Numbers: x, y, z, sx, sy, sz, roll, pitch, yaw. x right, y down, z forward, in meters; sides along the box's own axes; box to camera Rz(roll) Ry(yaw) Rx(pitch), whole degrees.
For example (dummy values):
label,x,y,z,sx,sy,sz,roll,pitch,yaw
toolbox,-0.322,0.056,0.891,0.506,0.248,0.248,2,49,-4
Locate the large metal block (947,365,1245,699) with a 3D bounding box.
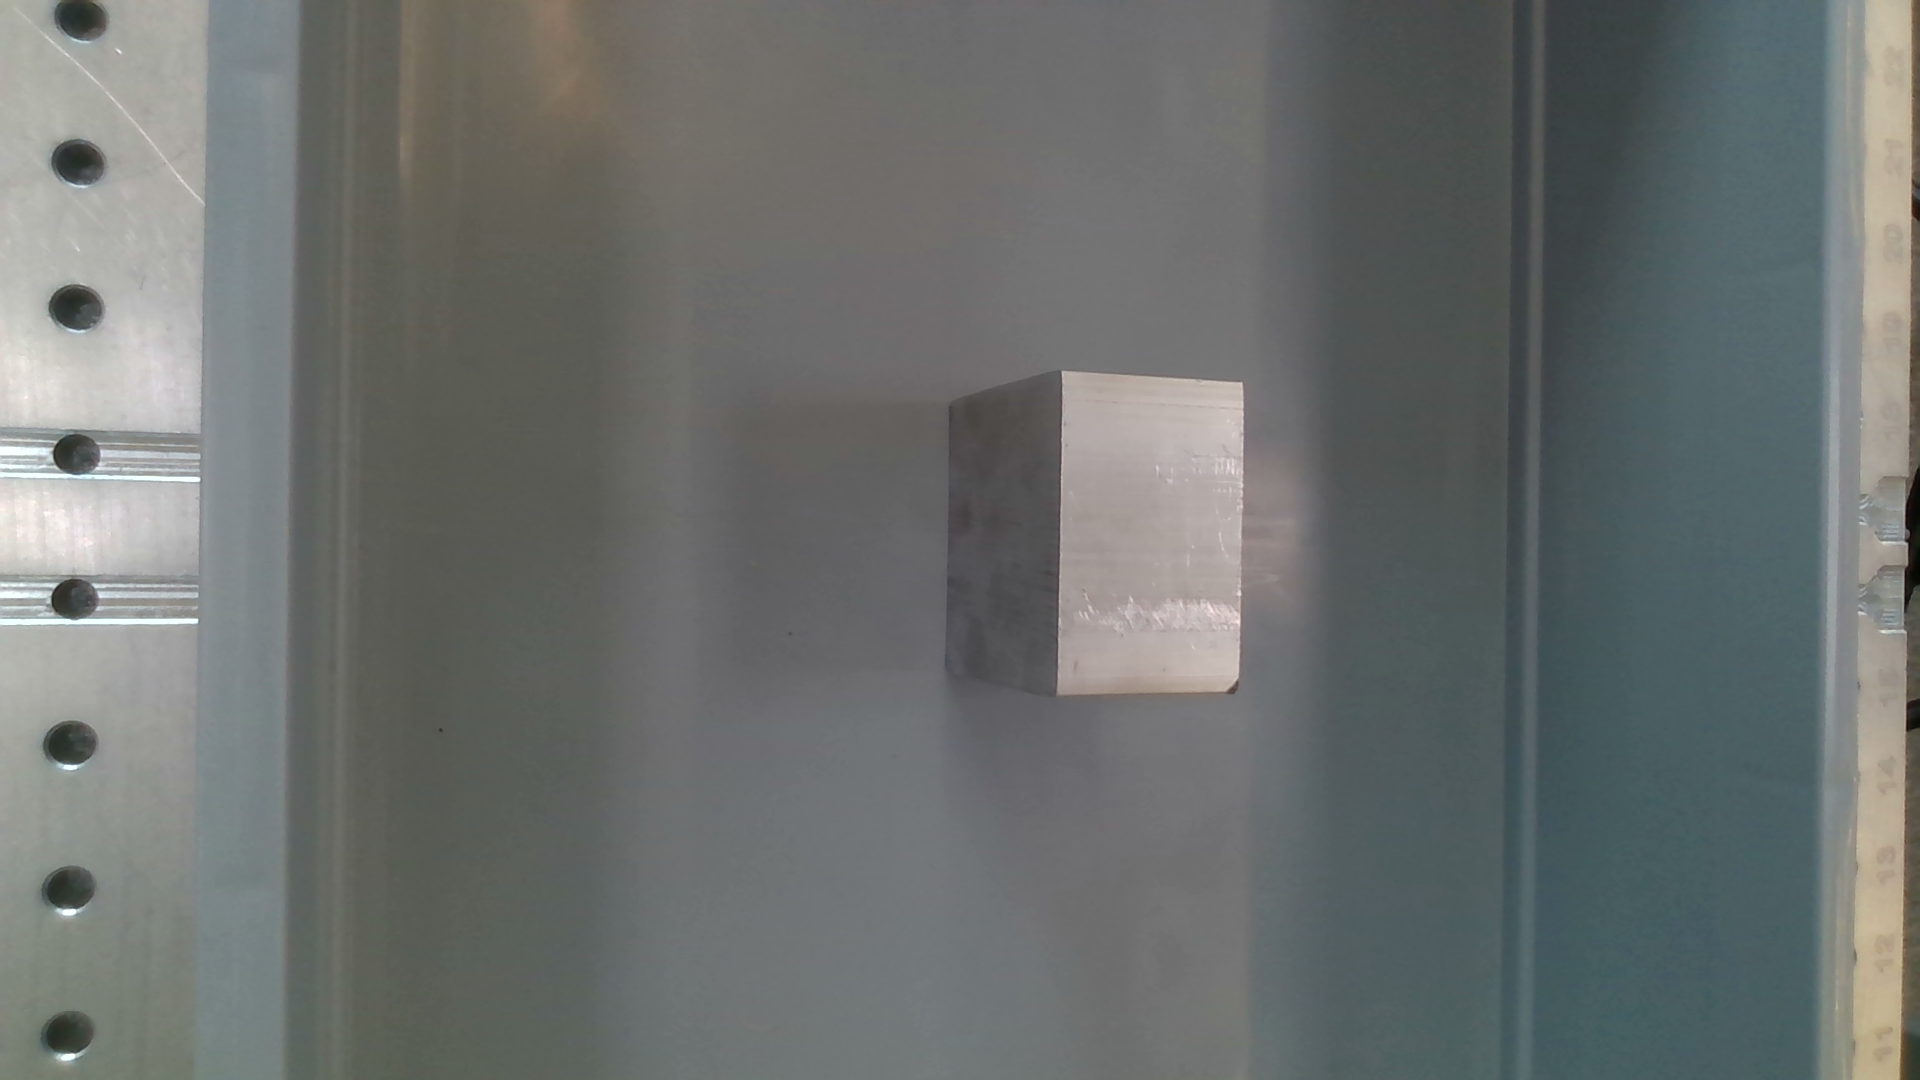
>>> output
label,x,y,z,sx,sy,sz,roll,pitch,yaw
large metal block,0.034,-0.002,0.375,0.050,0.080,0.080,1,90,-20
